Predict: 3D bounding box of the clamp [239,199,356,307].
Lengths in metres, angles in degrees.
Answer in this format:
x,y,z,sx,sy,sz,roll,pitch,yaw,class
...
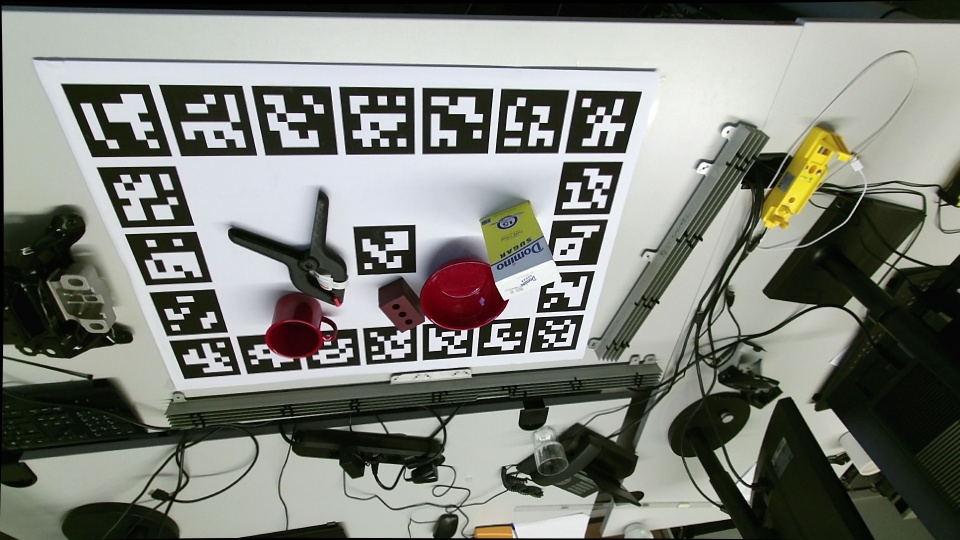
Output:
x,y,z,sx,sy,sz,roll,pitch,yaw,class
-0.268,-0.004,0.886,0.166,0.036,0.203,-23,125,3,clamp

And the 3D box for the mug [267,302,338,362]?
x,y,z,sx,sy,sz,roll,pitch,yaw,class
-0.304,0.113,0.939,0.117,0.081,0.093,21,118,-20,mug

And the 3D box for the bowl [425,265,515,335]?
x,y,z,sx,sy,sz,roll,pitch,yaw,class
-0.020,0.047,0.968,0.162,0.055,0.161,-5,126,-7,bowl

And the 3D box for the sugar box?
x,y,z,sx,sy,sz,roll,pitch,yaw,class
0.070,-0.031,0.855,0.093,0.175,0.045,-23,124,6,sugar box

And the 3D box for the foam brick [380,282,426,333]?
x,y,z,sx,sy,sz,roll,pitch,yaw,class
-0.138,0.071,0.970,0.053,0.051,0.078,-26,125,6,foam brick
